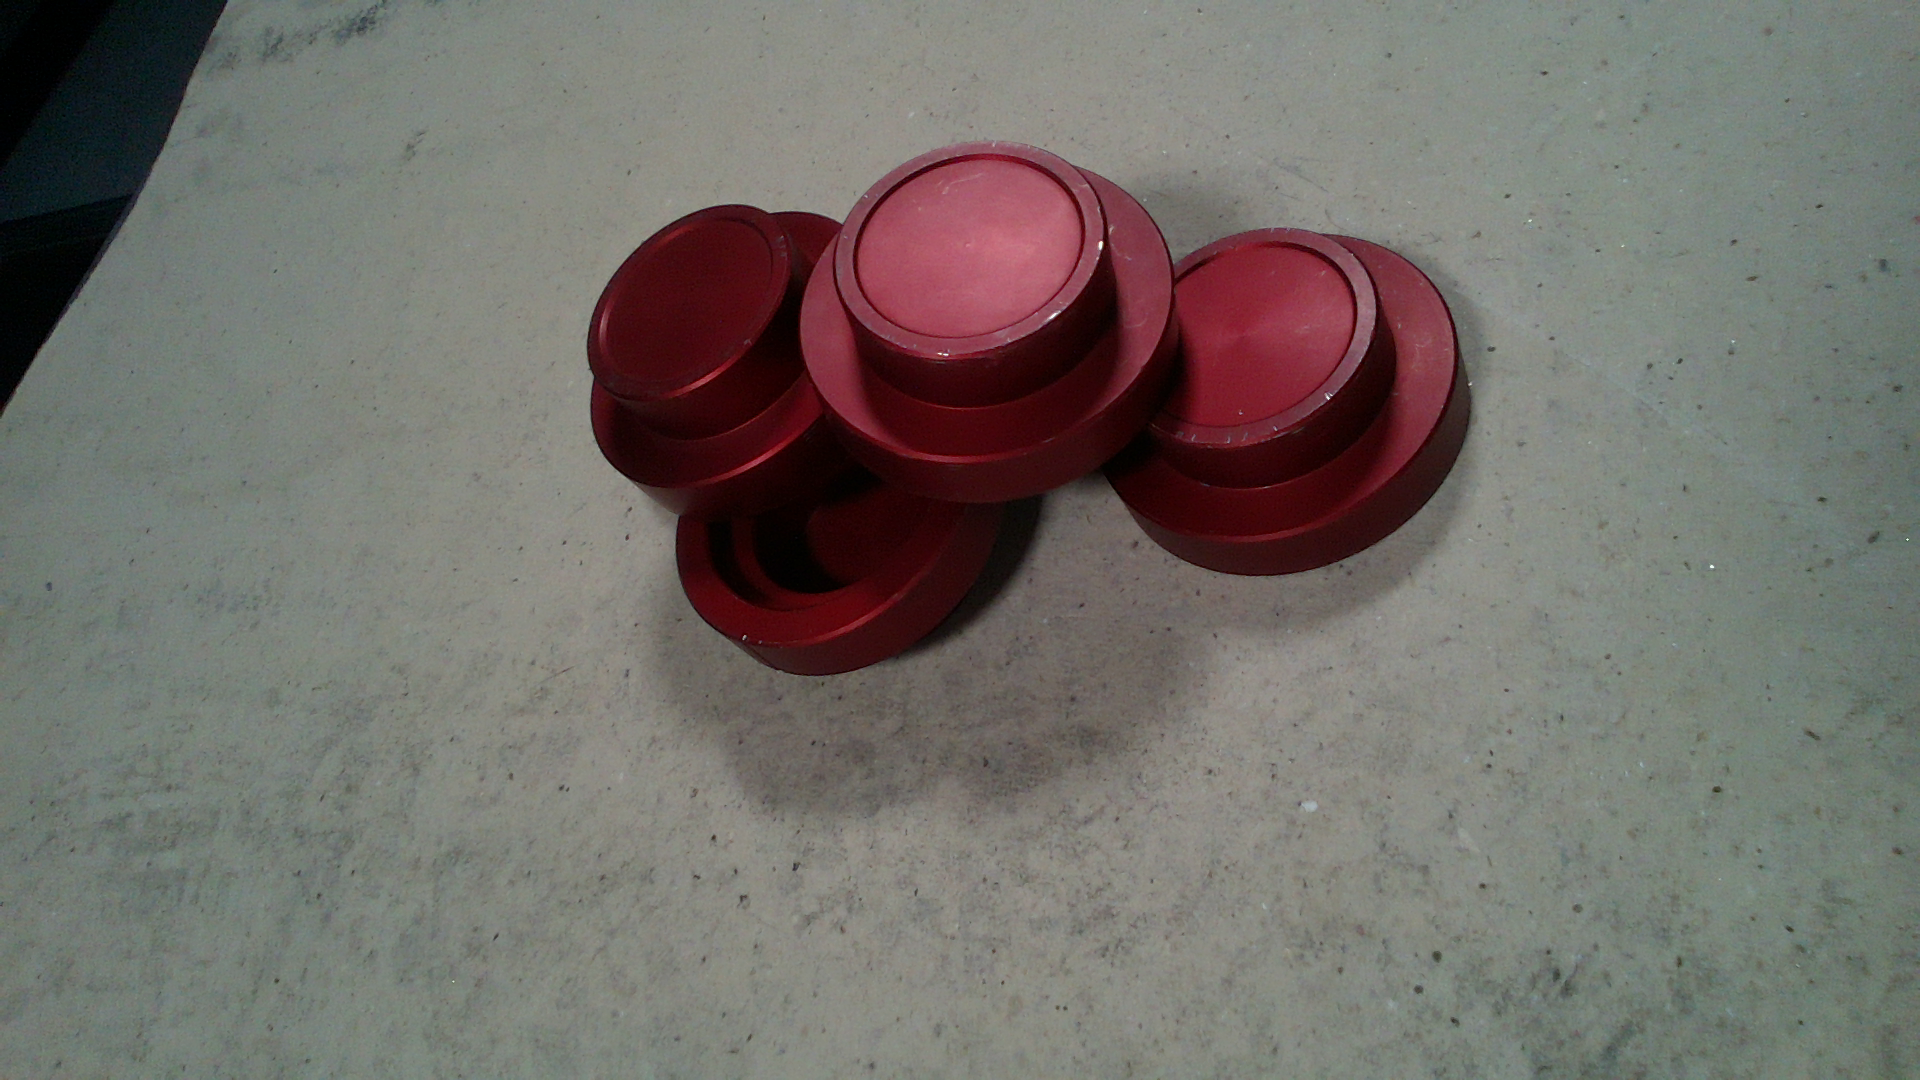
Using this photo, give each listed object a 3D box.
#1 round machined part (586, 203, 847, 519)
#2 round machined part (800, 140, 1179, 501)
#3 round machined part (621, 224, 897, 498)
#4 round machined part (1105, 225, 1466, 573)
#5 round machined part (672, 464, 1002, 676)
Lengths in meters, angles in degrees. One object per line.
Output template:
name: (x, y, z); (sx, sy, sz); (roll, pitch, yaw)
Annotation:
round machined part: (-0.069, -0.058, 0.401); (0.098, 0.042, 0.098); (-13, 56, 21)
round machined part: (0.006, -0.062, 0.350); (0.098, 0.042, 0.098); (-6, 60, 10)
round machined part: (-0.074, -0.067, 0.463); (0.098, 0.042, 0.098); (-13, 56, 21)
round machined part: (0.080, -0.044, 0.366); (0.098, 0.042, 0.098); (-13, 56, 21)
round machined part: (-0.032, -0.005, 0.403); (0.098, 0.042, 0.098); (-13, 56, 21)
